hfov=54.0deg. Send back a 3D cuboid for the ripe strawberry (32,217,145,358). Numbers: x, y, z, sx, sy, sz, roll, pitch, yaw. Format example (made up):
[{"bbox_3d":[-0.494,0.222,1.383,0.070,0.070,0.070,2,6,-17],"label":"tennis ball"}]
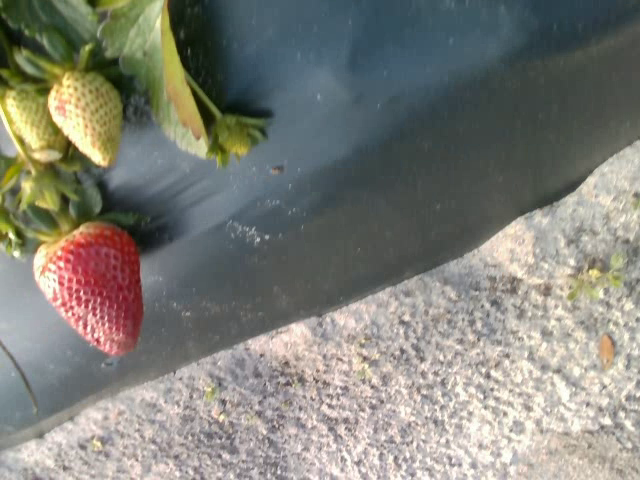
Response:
[{"bbox_3d":[-0.110,0.027,0.301,0.053,0.067,0.044,-25,3,22],"label":"ripe strawberry"}]
